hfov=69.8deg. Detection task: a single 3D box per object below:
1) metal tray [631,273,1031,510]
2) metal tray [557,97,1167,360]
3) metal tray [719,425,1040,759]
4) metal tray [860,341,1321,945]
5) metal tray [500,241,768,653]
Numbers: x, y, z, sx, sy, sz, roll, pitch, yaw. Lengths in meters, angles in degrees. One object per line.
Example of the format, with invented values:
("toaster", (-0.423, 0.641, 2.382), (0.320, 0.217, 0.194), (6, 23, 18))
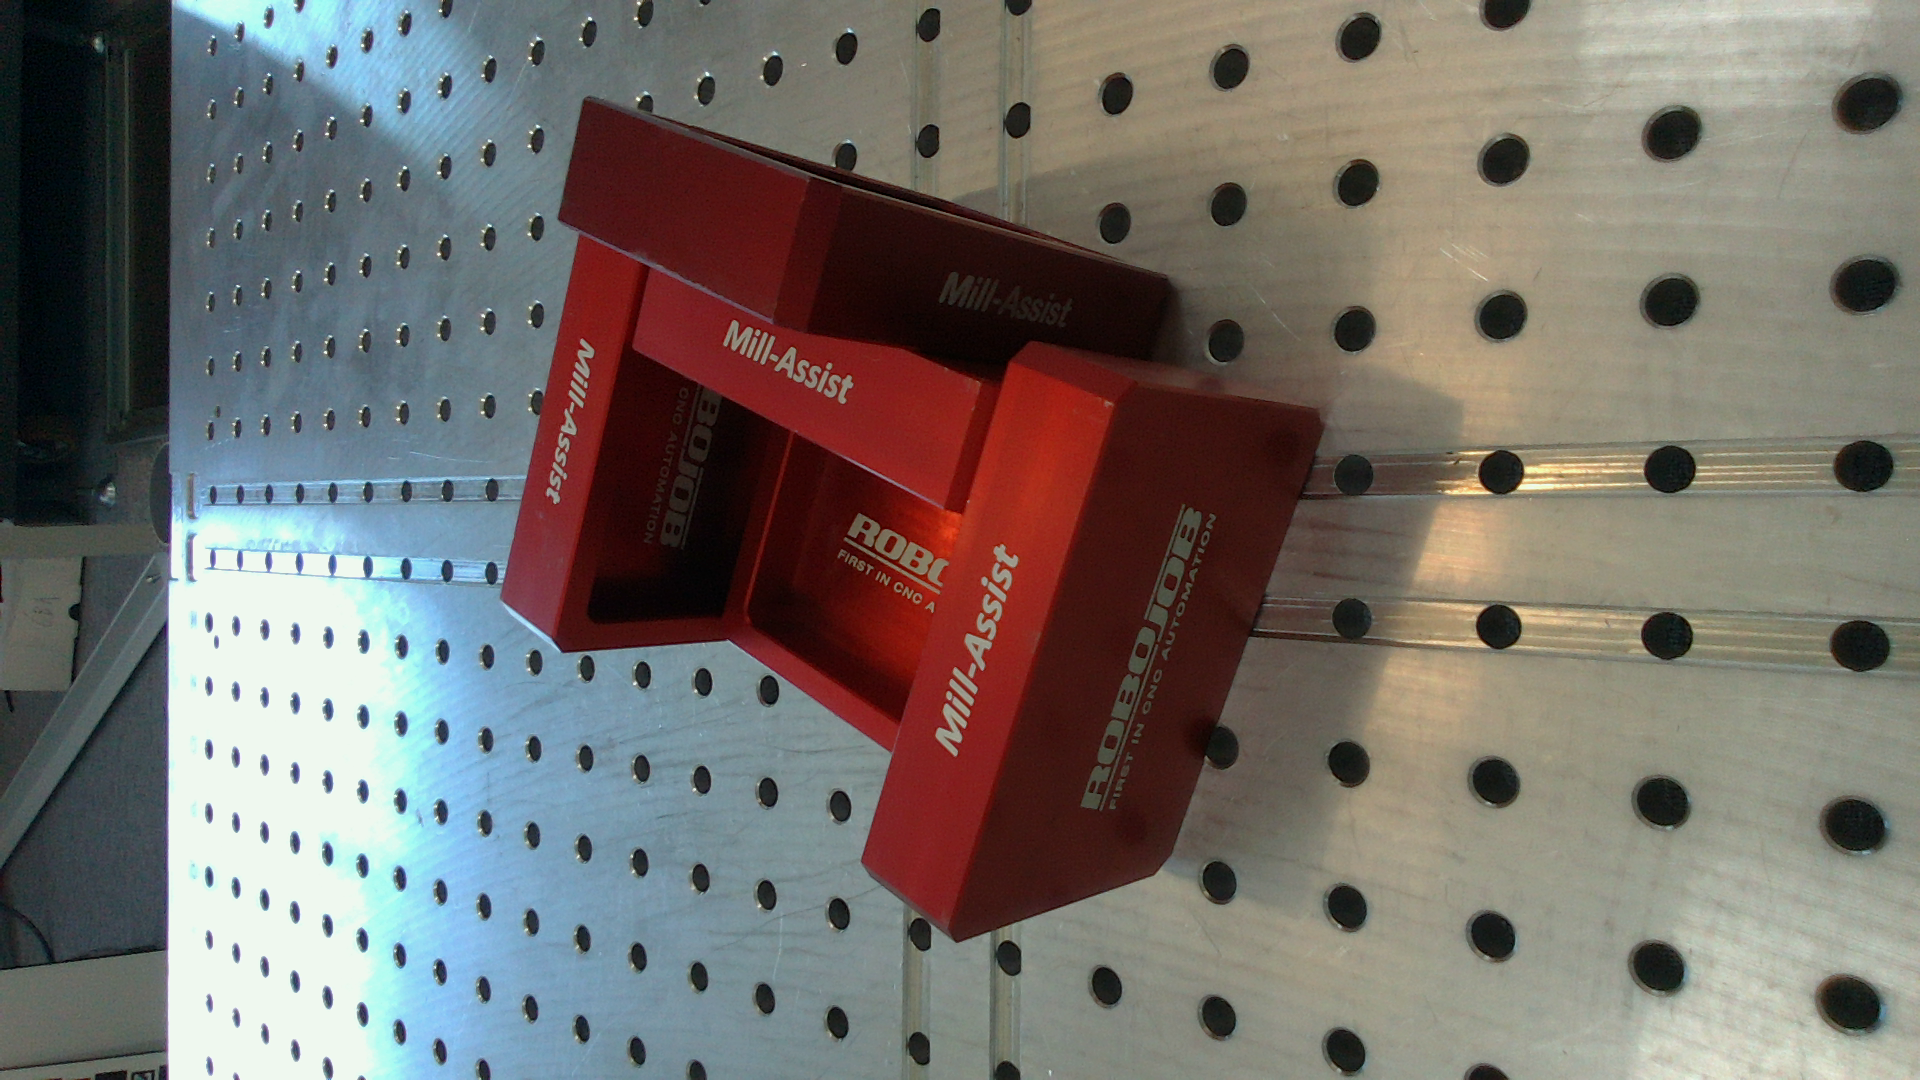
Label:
("metal tray", (-0.013, -0.044, 0.366), (0.130, 0.090, 0.030), (28, 108, 36))
("metal tray", (-0.020, -0.073, 0.345), (0.090, 0.131, 0.030), (28, 108, 36))
("metal tray", (-0.010, 0.013, 0.403), (0.130, 0.030, 0.090), (28, 108, 36))
("metal tray", (0.033, 0.024, 0.327), (0.030, 0.090, 0.130), (27, 107, 37))
("metal tray", (-0.082, -0.033, 0.424), (0.030, 0.090, 0.130), (27, 107, 36))
